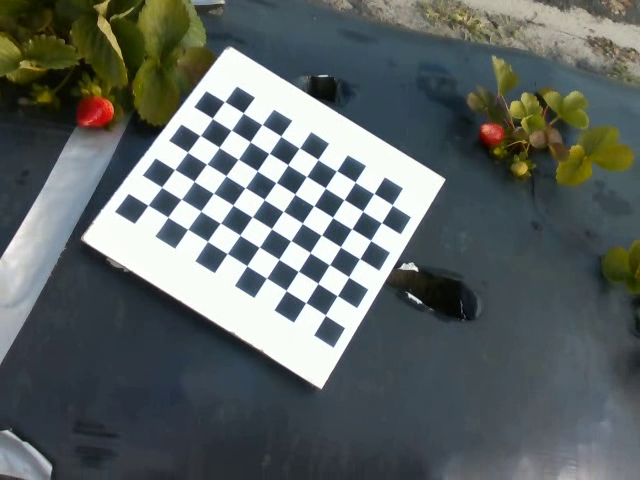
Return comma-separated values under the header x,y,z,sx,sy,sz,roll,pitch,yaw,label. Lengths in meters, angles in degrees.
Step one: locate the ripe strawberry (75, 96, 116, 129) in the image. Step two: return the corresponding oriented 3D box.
x,y,z,sx,sy,sz,roll,pitch,yaw,label
-0.223,-0.124,0.616,0.050,0.055,0.036,28,-36,-7,ripe strawberry
